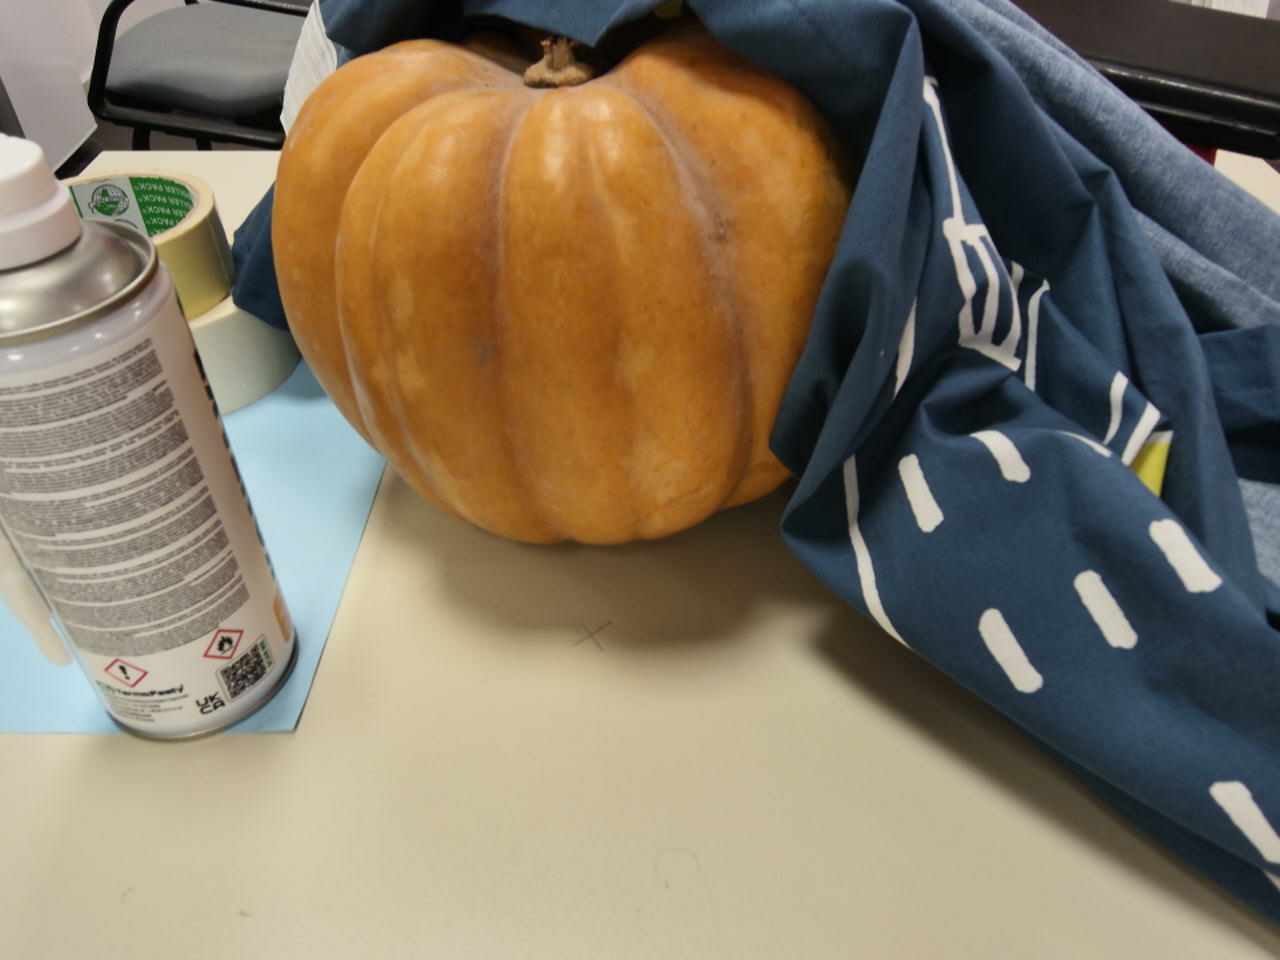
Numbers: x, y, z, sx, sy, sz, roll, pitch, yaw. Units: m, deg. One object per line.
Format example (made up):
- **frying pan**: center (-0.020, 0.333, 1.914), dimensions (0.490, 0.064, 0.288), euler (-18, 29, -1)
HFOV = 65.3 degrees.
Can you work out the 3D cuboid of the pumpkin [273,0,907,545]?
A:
- **pumpkin**: center (-0.014, -0.081, 0.383), dimensions (0.230, 0.194, 0.230), euler (0, 39, 0)
